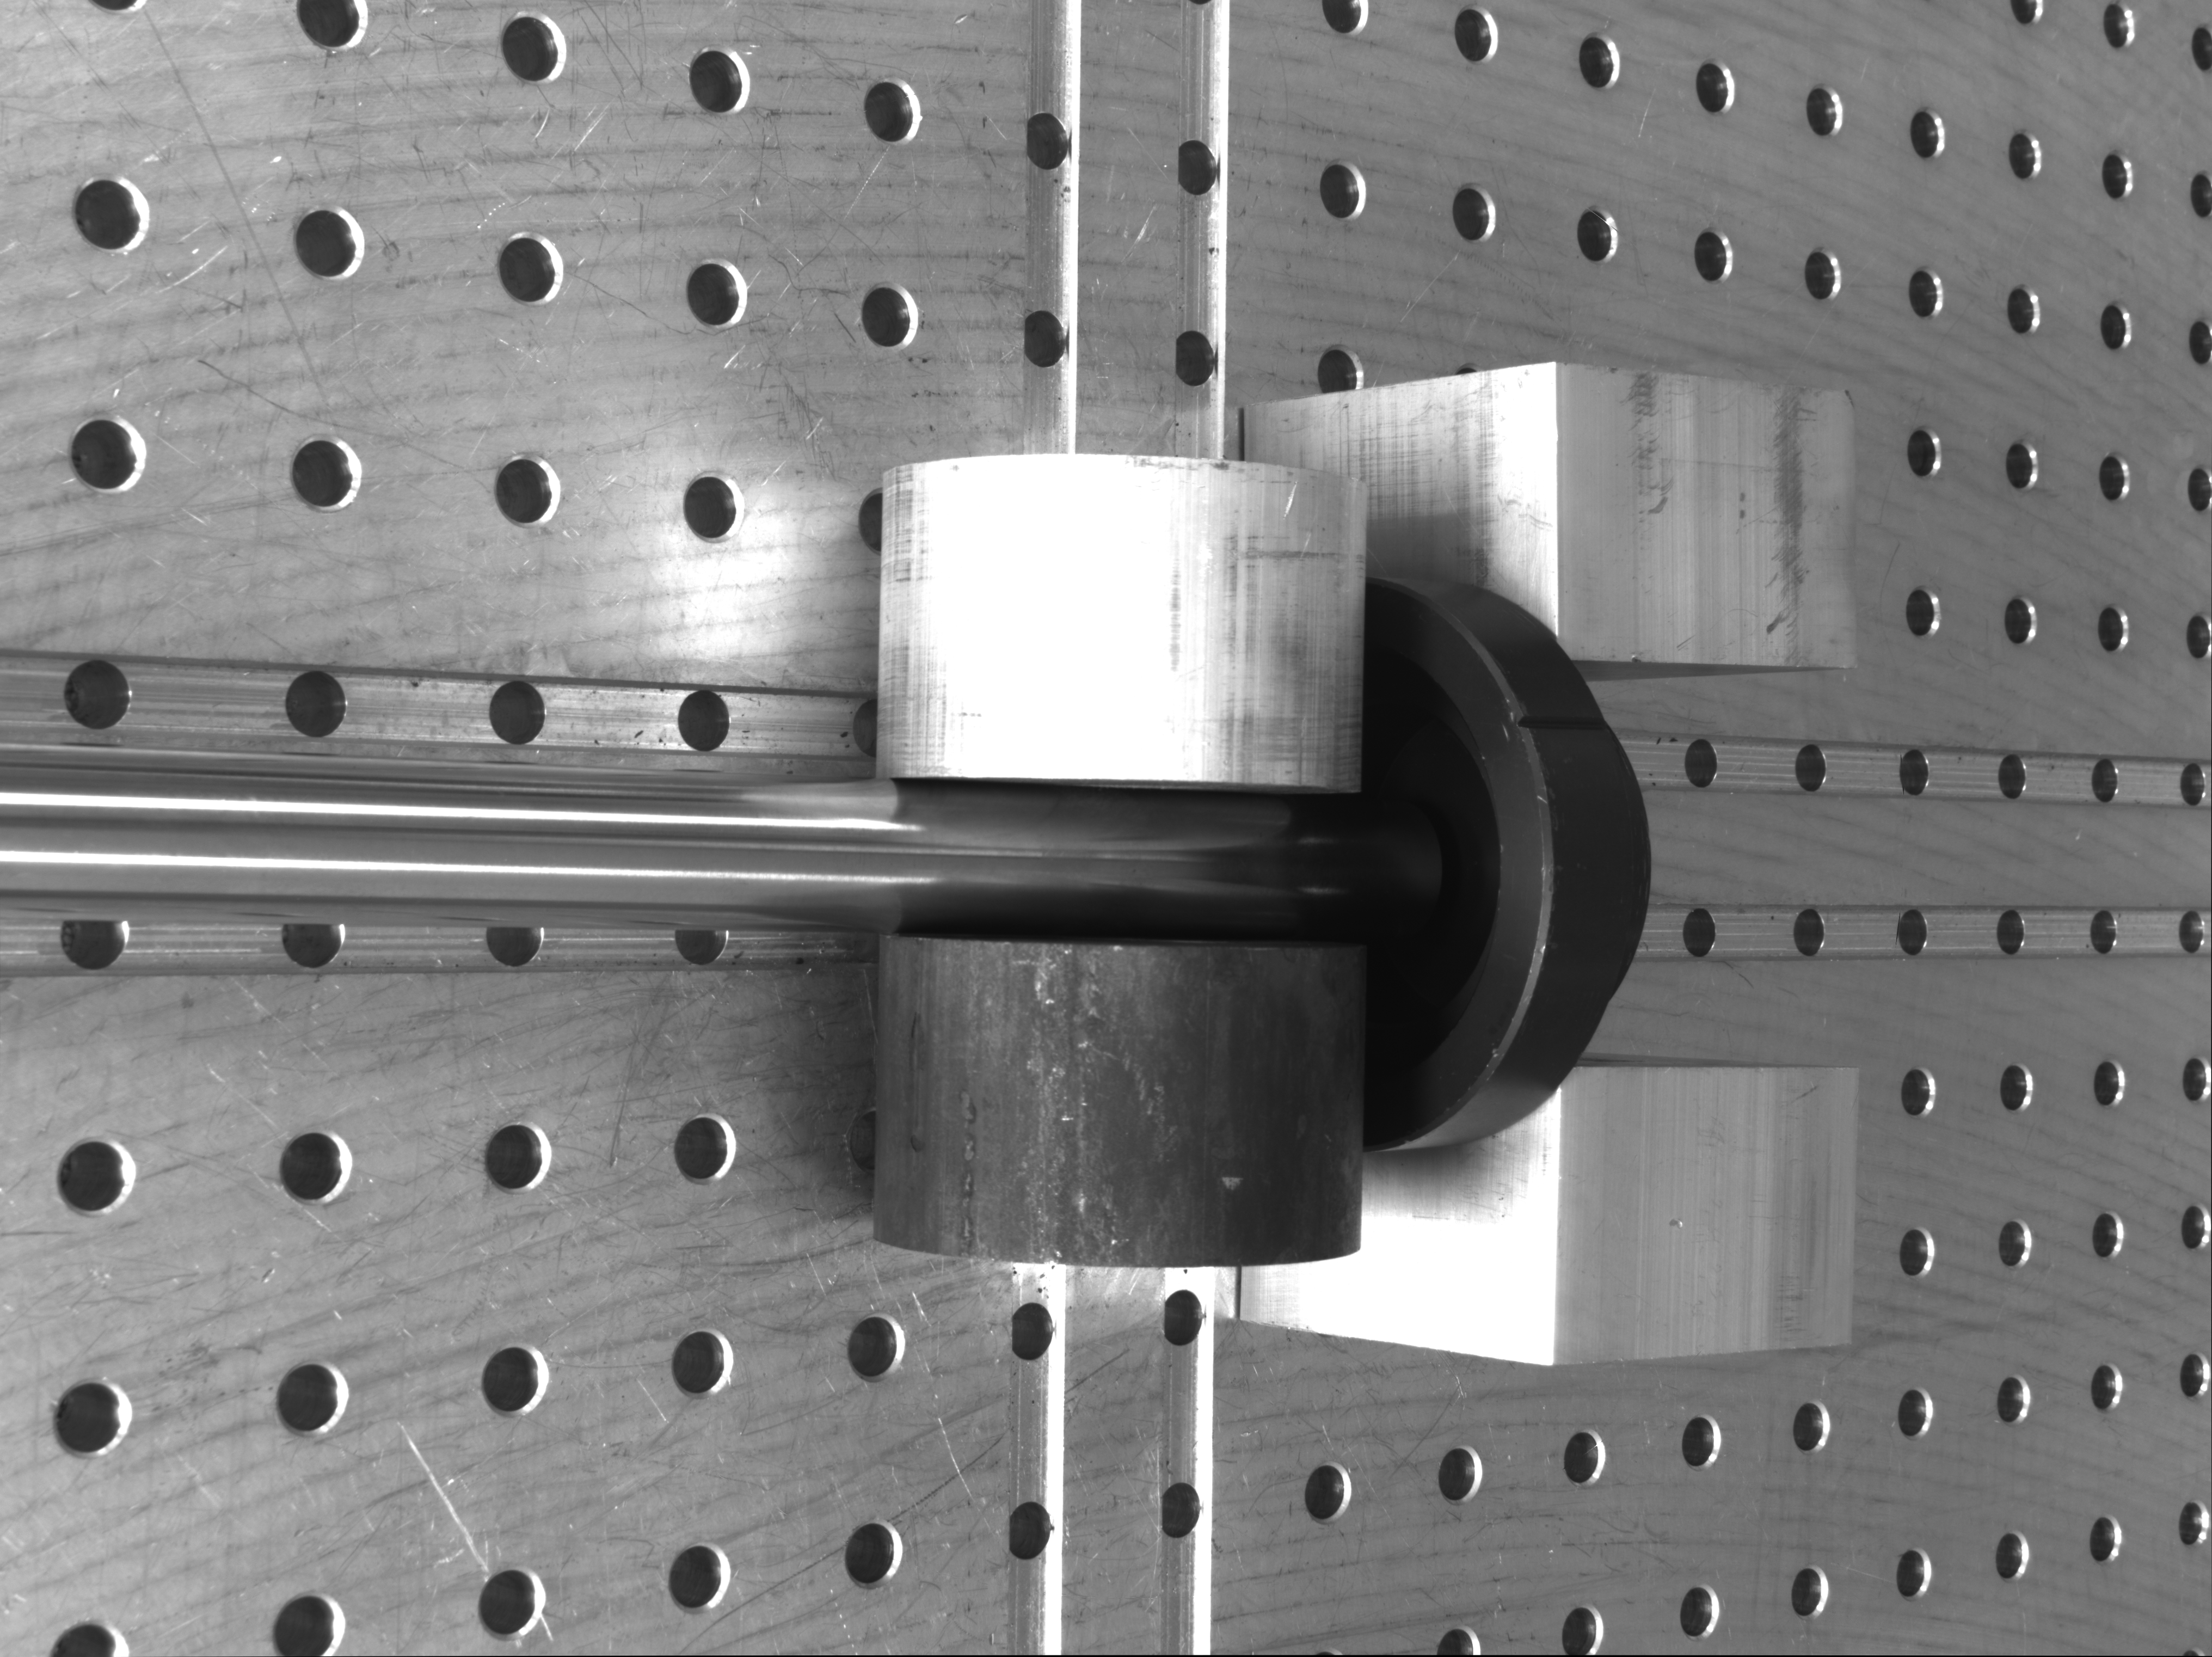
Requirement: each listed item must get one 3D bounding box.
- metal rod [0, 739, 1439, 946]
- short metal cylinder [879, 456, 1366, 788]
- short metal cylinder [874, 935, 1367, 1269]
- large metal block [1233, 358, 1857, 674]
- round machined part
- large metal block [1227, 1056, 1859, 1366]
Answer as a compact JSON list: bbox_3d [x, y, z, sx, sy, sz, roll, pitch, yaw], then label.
[{"bbox_3d":[-0.071,0.003,0.564,0.301,0.025,0.025,2,88,-36],"label":"metal rod"},{"bbox_3d":[0.002,-0.032,0.605,0.080,0.080,0.050,1,90,-40],"label":"short metal cylinder"},{"bbox_3d":[0.002,0.043,0.604,0.080,0.080,0.050,2,89,-40],"label":"short metal cylinder"},{"bbox_3d":[0.080,-0.054,0.670,0.080,0.080,0.050,0,90,-40],"label":"large metal block"},{"bbox_3d":[0.056,0.006,0.638,0.042,0.098,0.098,1,89,-40],"label":"round machined part"},{"bbox_3d":[0.080,0.067,0.670,0.080,0.080,0.050,4,88,-40],"label":"large metal block"}]
